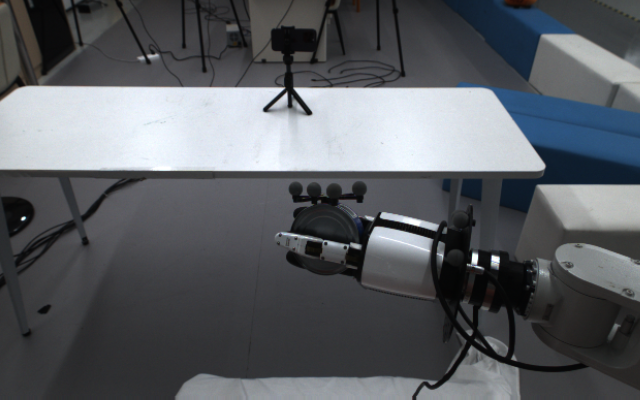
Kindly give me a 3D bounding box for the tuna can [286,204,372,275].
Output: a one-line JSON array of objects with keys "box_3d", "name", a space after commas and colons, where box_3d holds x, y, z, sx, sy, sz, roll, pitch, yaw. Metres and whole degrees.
[{"box_3d": [0.011, 0.044, 0.580, 0.085, 0.085, 0.034, 15, 10, 18], "name": "tuna can"}]
